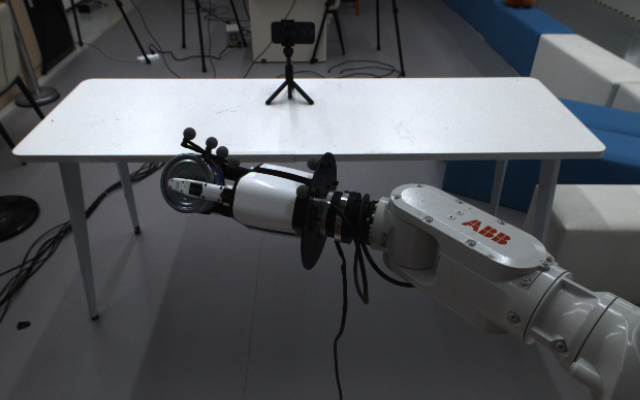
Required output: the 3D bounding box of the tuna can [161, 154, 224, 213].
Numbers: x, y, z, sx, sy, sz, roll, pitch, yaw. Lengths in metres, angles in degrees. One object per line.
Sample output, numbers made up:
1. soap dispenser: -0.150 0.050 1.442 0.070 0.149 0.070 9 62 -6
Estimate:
1. tuna can: -0.181 -0.023 0.687 0.085 0.085 0.034 12 4 14
